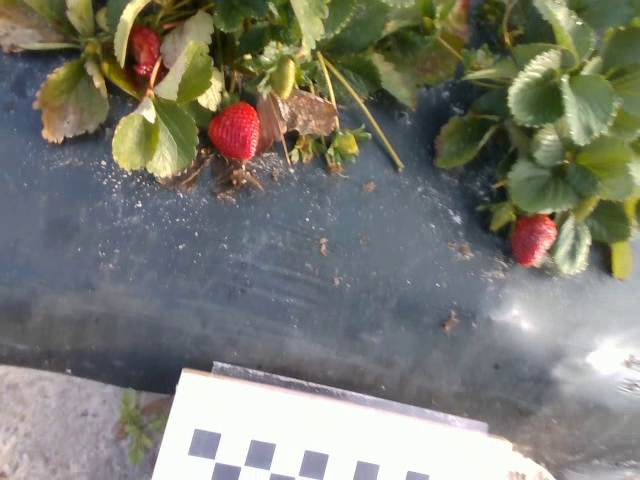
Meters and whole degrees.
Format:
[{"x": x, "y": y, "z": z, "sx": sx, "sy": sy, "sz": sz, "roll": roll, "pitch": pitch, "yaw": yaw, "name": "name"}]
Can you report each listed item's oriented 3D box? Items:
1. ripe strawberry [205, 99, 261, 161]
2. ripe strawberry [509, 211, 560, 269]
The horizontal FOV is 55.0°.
[{"x": -0.042, "y": -0.052, "z": 0.301, "sx": 0.032, "sy": 0.030, "sz": 0.026, "roll": -23, "pitch": -15, "yaw": -12, "name": "ripe strawberry"}, {"x": 0.120, "y": 0.003, "z": 0.341, "sx": 0.029, "sy": 0.036, "sz": 0.021, "roll": 17, "pitch": -11, "yaw": -7, "name": "ripe strawberry"}]
